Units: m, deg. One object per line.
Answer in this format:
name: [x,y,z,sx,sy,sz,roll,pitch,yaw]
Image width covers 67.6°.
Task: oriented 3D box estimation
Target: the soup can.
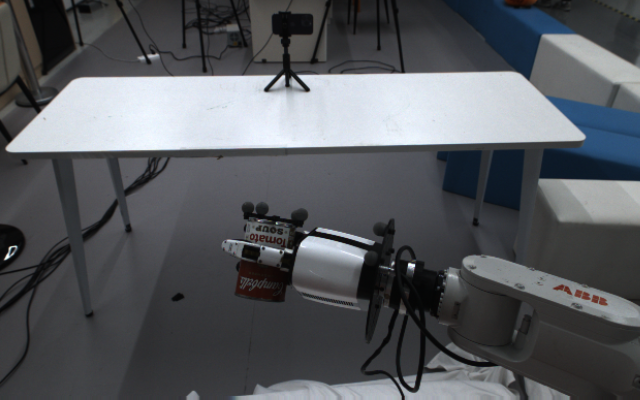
soup can: [-0.071,0.080,0.642,0.067,0.101,0.067,9,-6,1]
